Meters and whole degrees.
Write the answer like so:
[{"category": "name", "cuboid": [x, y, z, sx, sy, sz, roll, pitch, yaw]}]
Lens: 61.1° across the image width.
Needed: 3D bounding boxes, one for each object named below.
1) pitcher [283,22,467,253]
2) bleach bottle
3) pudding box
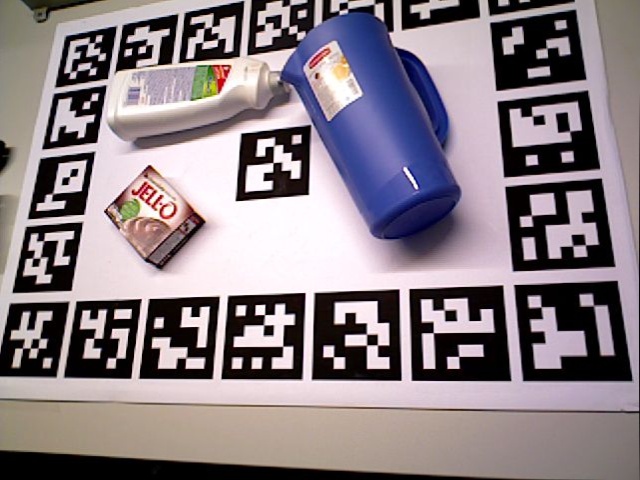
[{"category": "pitcher", "cuboid": [0.076, -0.114, 0.626, 0.185, 0.136, 0.241, -15, 70, -26]}, {"category": "bleach bottle", "cuboid": [-0.169, -0.194, 0.742, 0.251, 0.068, 0.102, -6, 75, 13]}, {"category": "pudding box", "cuboid": [-0.229, -0.022, 0.713, 0.089, 0.039, 0.113, -43, 68, -7]}]
